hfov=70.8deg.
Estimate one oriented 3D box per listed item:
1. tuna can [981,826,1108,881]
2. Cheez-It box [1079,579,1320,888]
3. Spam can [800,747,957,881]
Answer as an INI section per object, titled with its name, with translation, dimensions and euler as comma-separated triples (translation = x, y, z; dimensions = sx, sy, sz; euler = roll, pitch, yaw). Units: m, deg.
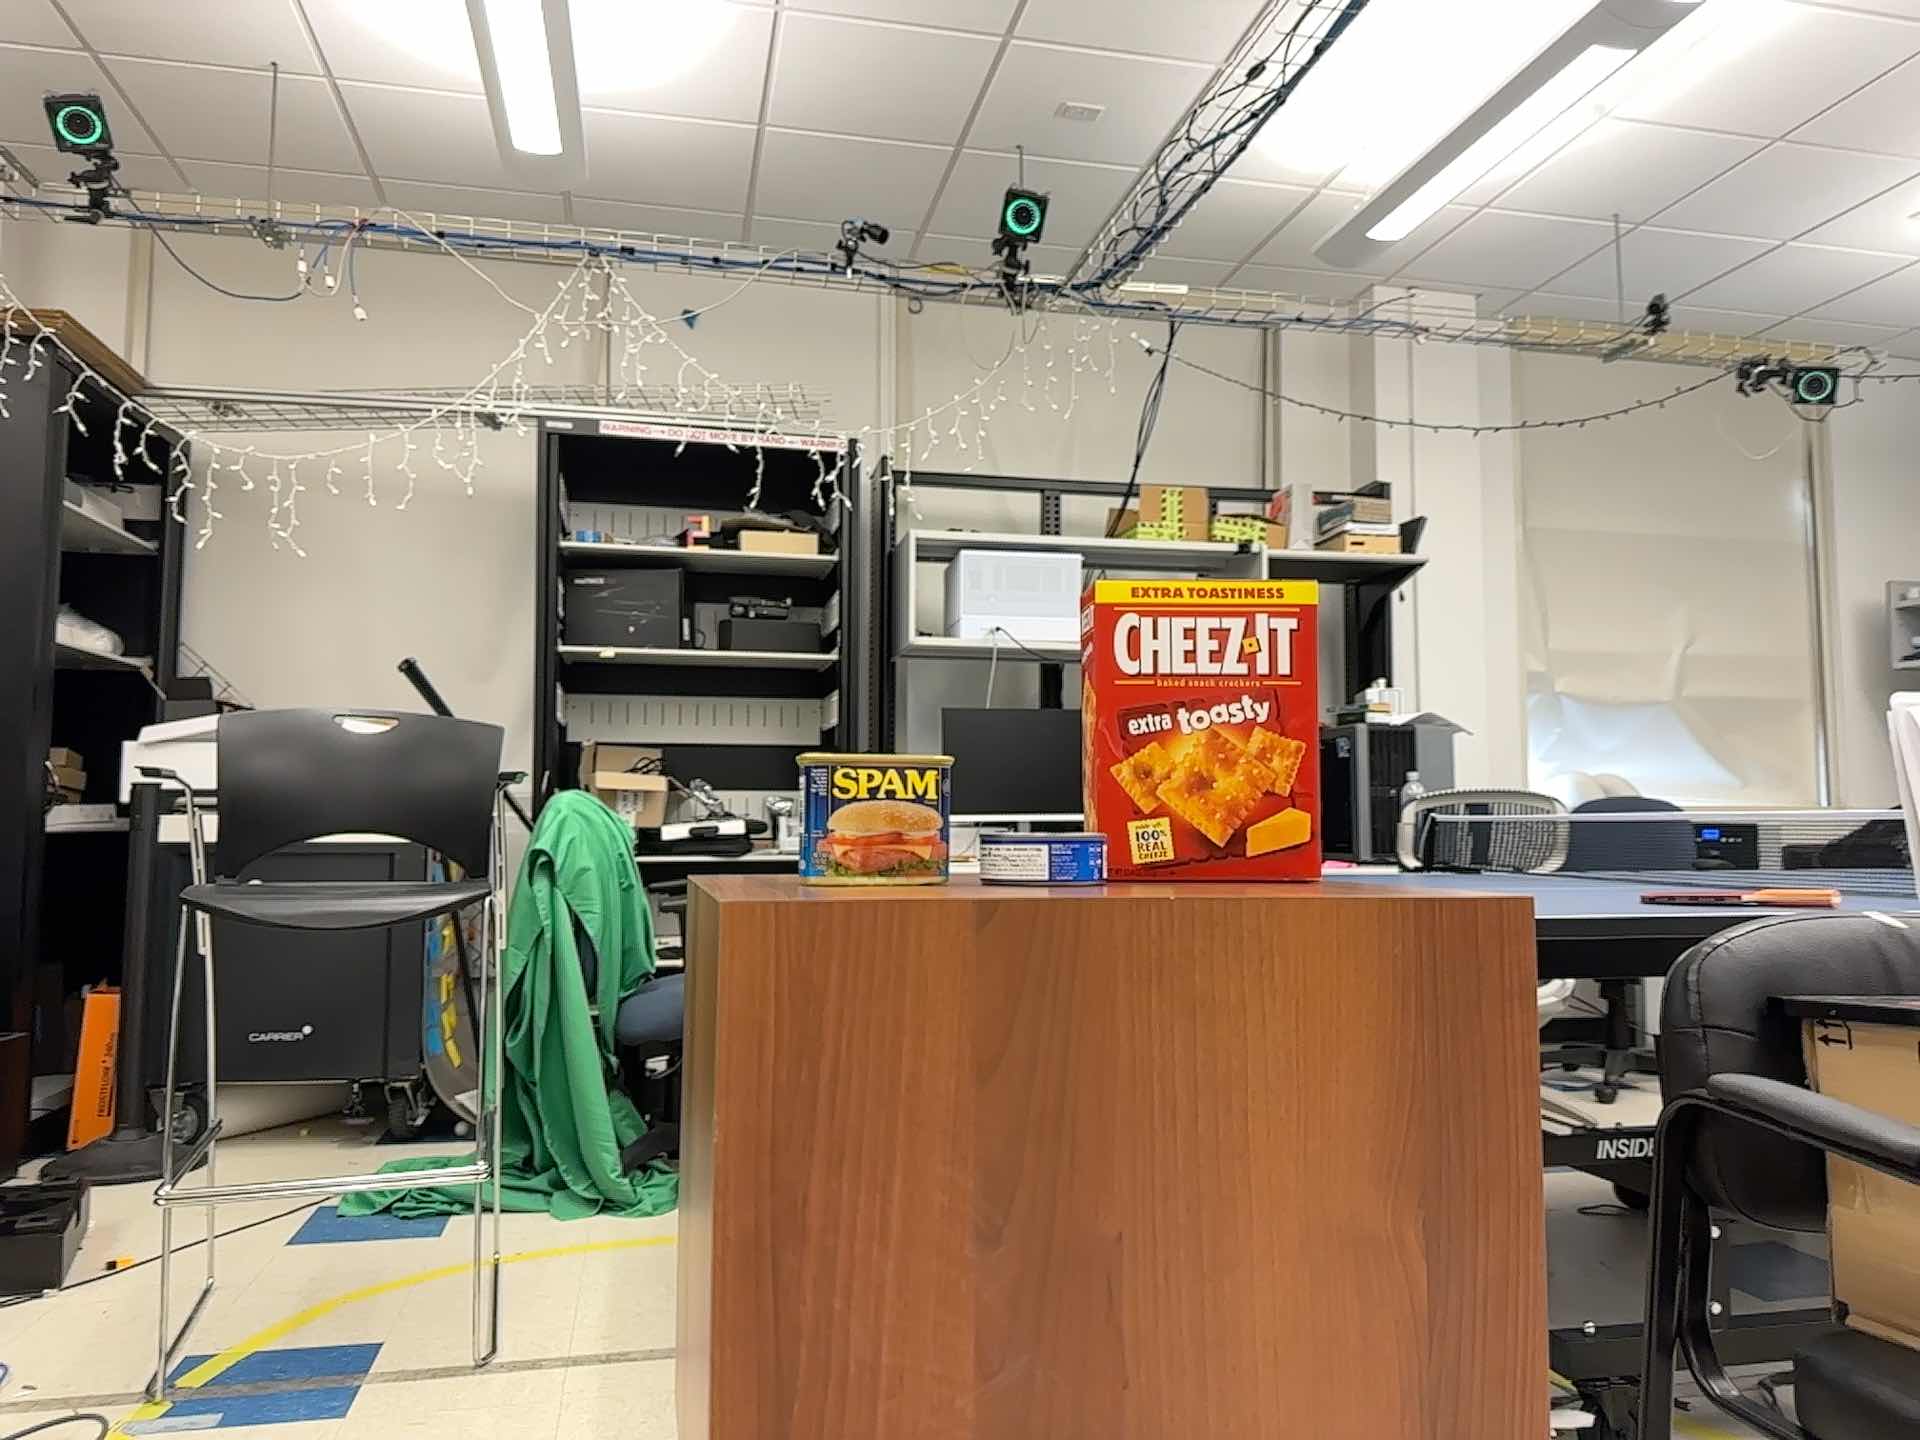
[tuna can]
translation = 0.056, 0.089, 0.900
dimensions = 0.083, 0.034, 0.083
euler = -1, -7, 0
[Cheez-It box]
translation = 0.175, 0.010, 0.994
dimensions = 0.159, 0.214, 0.062
euler = 1, -5, -6
[Spam can]
translation = -0.055, 0.062, 0.885
dimensions = 0.100, 0.083, 0.056
euler = 1, -5, -3
